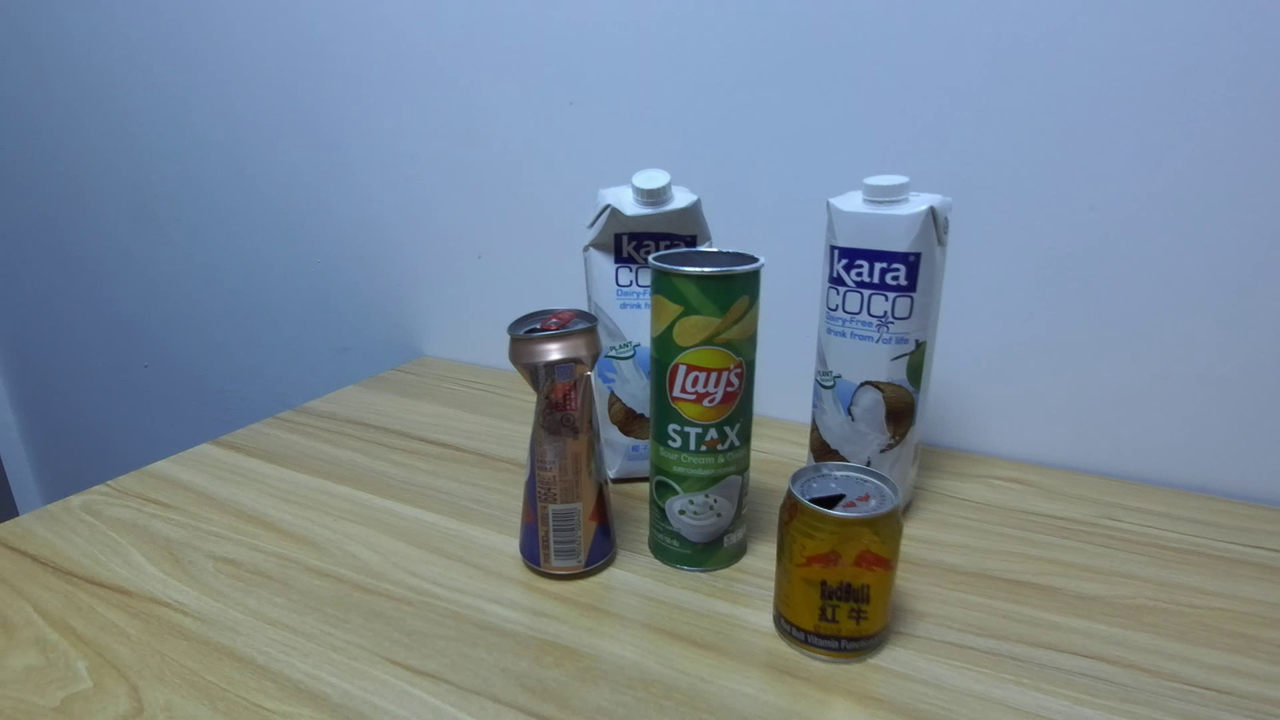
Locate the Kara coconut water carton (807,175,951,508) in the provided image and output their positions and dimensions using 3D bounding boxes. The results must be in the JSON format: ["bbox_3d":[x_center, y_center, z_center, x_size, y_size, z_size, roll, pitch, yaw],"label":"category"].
[{"bbox_3d":[0.166,-0.005,0.505,0.076,0.245,0.075,10,20,32],"label":"Kara coconut water carton"}]

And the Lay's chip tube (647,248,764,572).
[{"bbox_3d":[0.041,0.032,0.458,0.071,0.202,0.071,0,19,0],"label":"Lay's chip tube"}]

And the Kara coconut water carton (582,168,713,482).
[{"bbox_3d":[0.008,-0.027,0.572,0.100,0.244,0.071,-5,17,-8],"label":"Kara coconut water carton"}]

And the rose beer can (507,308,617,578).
[{"bbox_3d":[-0.051,0.055,0.458,0.065,0.167,0.076,-1,19,7],"label":"rose beer can"}]
